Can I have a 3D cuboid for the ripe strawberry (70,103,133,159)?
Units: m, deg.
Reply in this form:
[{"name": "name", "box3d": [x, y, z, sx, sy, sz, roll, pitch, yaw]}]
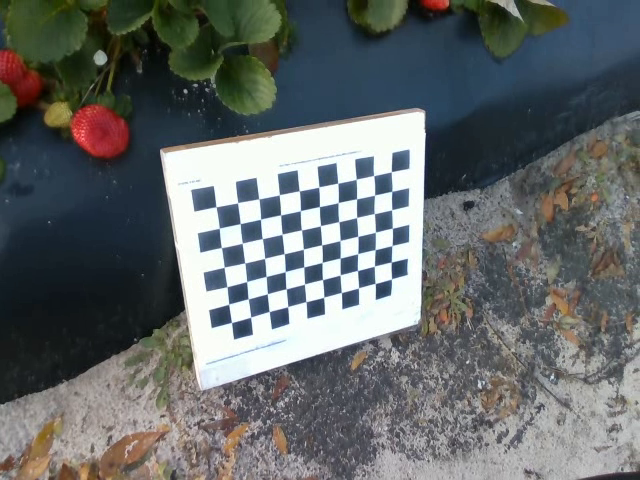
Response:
[{"name": "ripe strawberry", "box3d": [-0.080, -0.045, 0.217, 0.022, 0.025, 0.030, -21, 42, 7]}]
